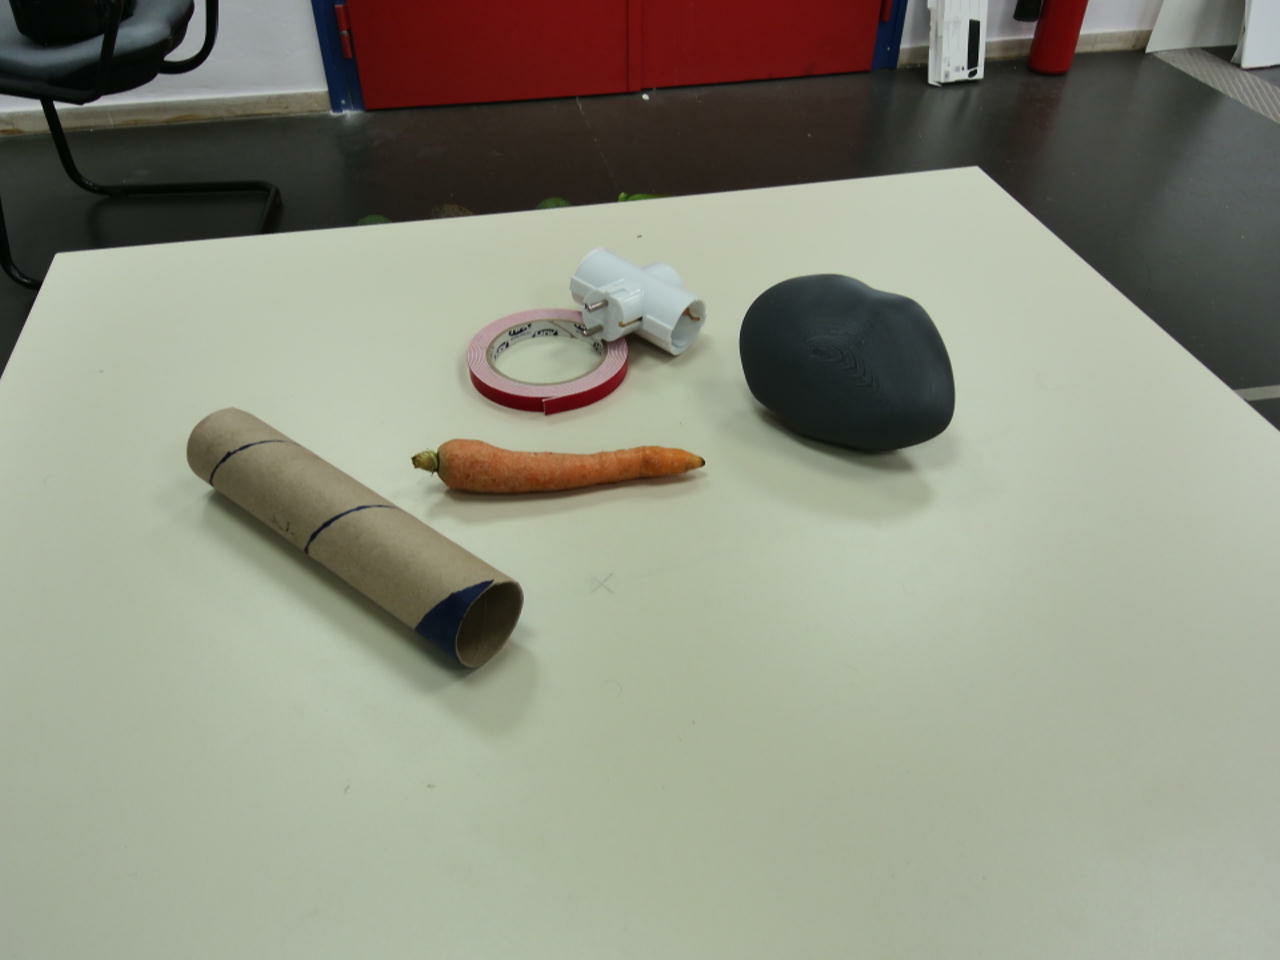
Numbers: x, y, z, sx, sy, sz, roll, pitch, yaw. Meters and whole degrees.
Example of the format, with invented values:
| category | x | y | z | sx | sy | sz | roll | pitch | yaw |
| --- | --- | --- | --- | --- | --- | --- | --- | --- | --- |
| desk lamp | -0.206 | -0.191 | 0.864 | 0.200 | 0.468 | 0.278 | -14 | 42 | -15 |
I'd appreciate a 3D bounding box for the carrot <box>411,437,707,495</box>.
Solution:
| category | x | y | z | sx | sy | sz | roll | pitch | yaw |
| --- | --- | --- | --- | --- | --- | --- | --- | --- | --- |
| carrot | -0.044 | -0.010 | 0.580 | 0.173 | 0.032 | 0.030 | -2 | 39 | -2 |
